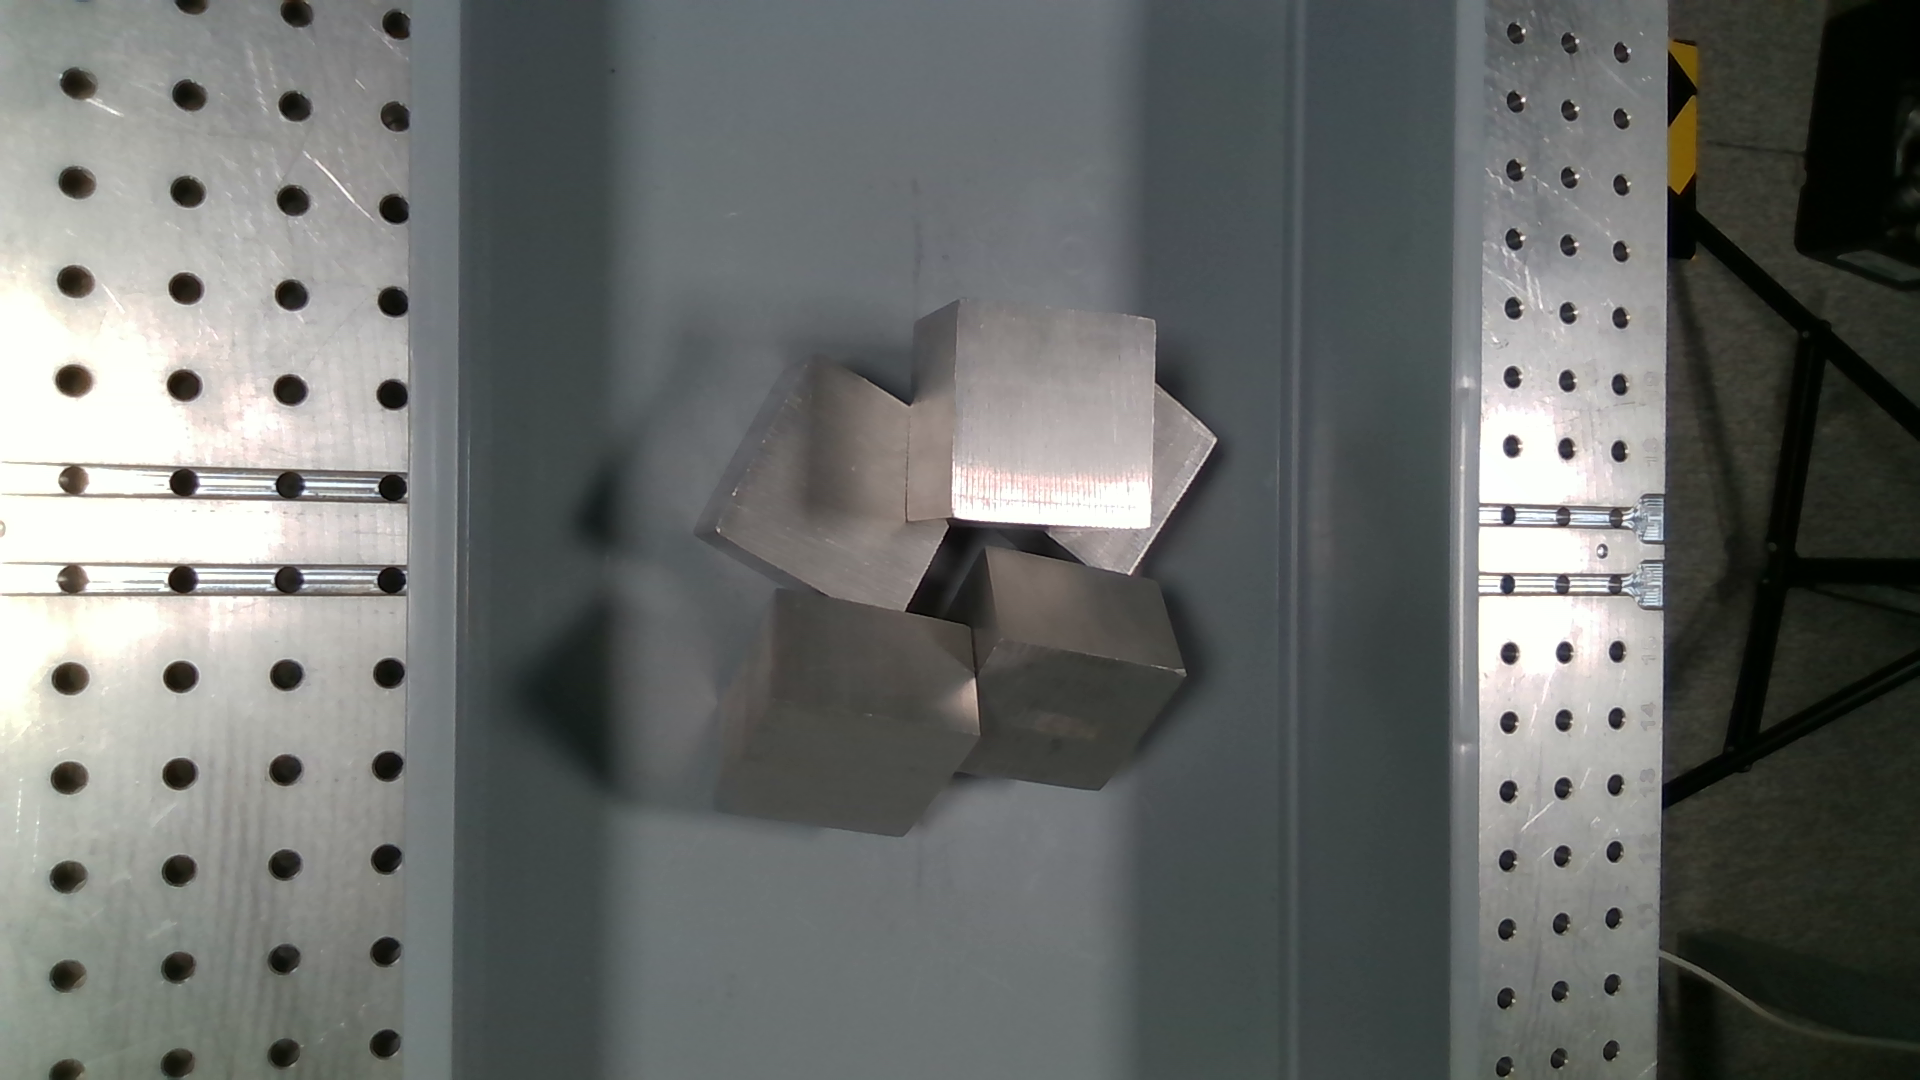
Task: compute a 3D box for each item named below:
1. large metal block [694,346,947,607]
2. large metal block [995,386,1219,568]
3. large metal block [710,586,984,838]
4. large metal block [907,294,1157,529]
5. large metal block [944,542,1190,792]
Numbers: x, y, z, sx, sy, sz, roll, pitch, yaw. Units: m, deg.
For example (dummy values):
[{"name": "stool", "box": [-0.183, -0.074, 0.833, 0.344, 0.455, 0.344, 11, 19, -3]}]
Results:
[{"name": "large metal block", "box": [-0.049, -0.019, 0.550, 0.080, 0.050, 0.080, 31, 80, -18]}, {"name": "large metal block", "box": [0.049, -0.035, 0.590, 0.080, 0.050, 0.080, 38, 78, -16]}, {"name": "large metal block", "box": [-0.046, 0.069, 0.532, 0.080, 0.080, 0.050, 13, 46, -20]}, {"name": "large metal block", "box": [0.026, -0.045, 0.526, 0.080, 0.050, 0.080, 3, 88, -22]}, {"name": "large metal block", "box": [0.034, 0.054, 0.562, 0.080, 0.050, 0.080, 12, 131, -20]}]
